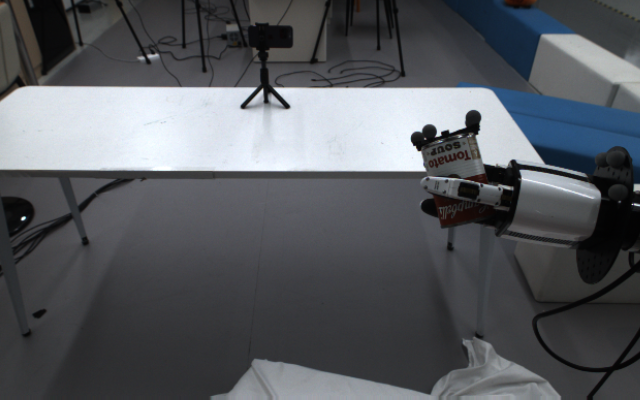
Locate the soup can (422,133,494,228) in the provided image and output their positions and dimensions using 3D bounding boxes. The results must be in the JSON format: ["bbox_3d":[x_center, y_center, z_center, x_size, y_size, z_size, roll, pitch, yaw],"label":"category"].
[{"bbox_3d":[0.168,-0.024,0.587,0.067,0.101,0.067,-14,-2,-1],"label":"soup can"}]
